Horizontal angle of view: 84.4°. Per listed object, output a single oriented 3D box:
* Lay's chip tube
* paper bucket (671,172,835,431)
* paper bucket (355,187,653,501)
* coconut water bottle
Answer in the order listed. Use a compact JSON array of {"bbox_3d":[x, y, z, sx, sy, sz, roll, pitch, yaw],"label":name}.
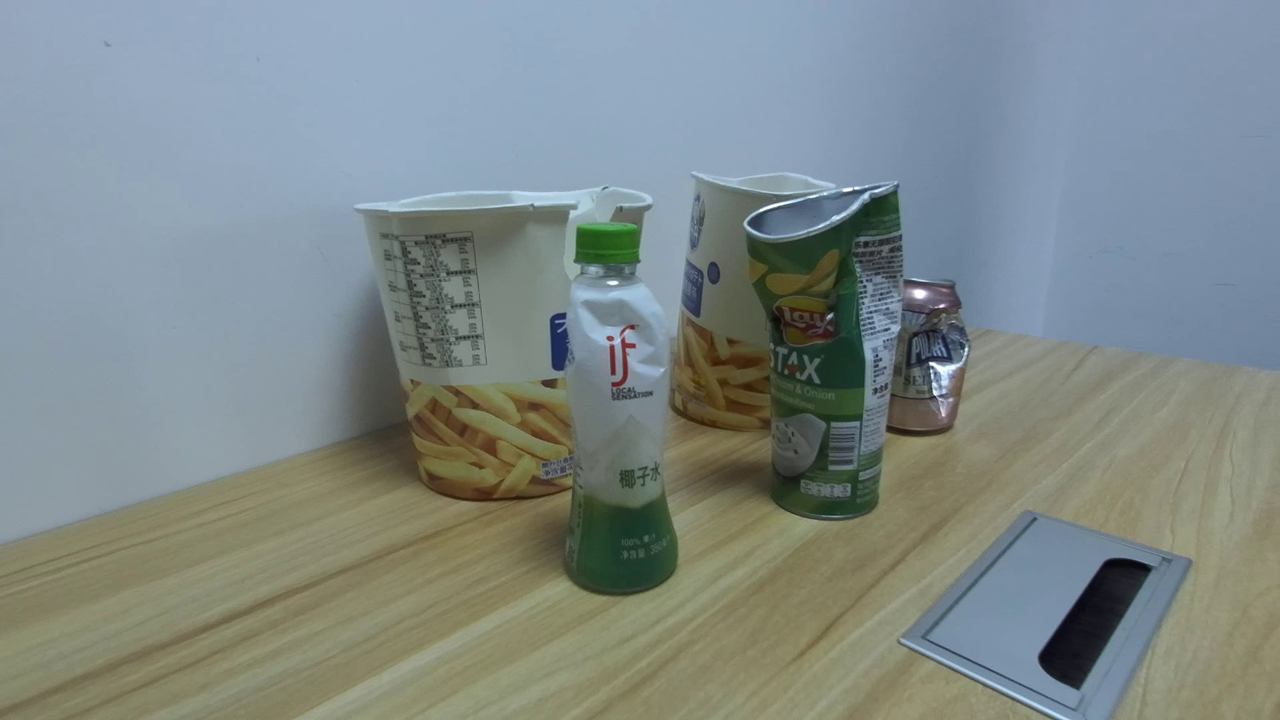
[{"bbox_3d":[0.109,-0.001,0.421,0.078,0.199,0.071,9,29,35],"label":"Lay's chip tube"},{"bbox_3d":[0.098,-0.058,0.604,0.148,0.199,0.217,-10,19,-28],"label":"paper bucket"},{"bbox_3d":[-0.092,-0.019,0.508,0.202,0.197,0.145,-3,18,3],"label":"paper bucket"},{"bbox_3d":[-0.012,0.025,0.368,0.067,0.187,0.067,-1,15,1],"label":"coconut water bottle"}]
